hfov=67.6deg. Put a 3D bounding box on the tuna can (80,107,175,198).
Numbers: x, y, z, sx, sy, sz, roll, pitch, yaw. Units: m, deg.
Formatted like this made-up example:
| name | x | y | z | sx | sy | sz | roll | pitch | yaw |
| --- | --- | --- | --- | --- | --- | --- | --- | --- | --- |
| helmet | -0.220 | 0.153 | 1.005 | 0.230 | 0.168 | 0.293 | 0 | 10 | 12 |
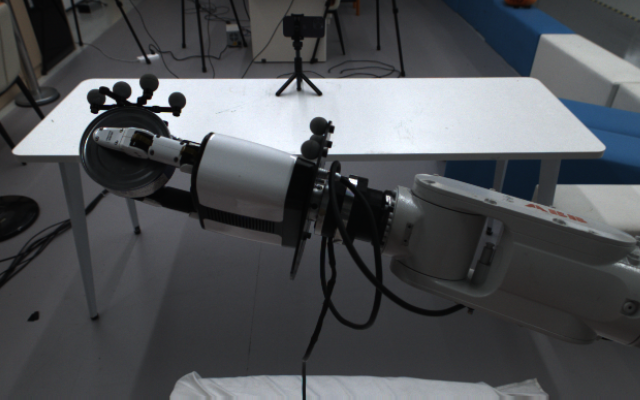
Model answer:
| name | x | y | z | sx | sy | sz | roll | pitch | yaw |
| --- | --- | --- | --- | --- | --- | --- | --- | --- | --- |
| tuna can | -0.183 | -0.045 | 0.477 | 0.085 | 0.034 | 0.085 | 1 | 73 | -4 |
